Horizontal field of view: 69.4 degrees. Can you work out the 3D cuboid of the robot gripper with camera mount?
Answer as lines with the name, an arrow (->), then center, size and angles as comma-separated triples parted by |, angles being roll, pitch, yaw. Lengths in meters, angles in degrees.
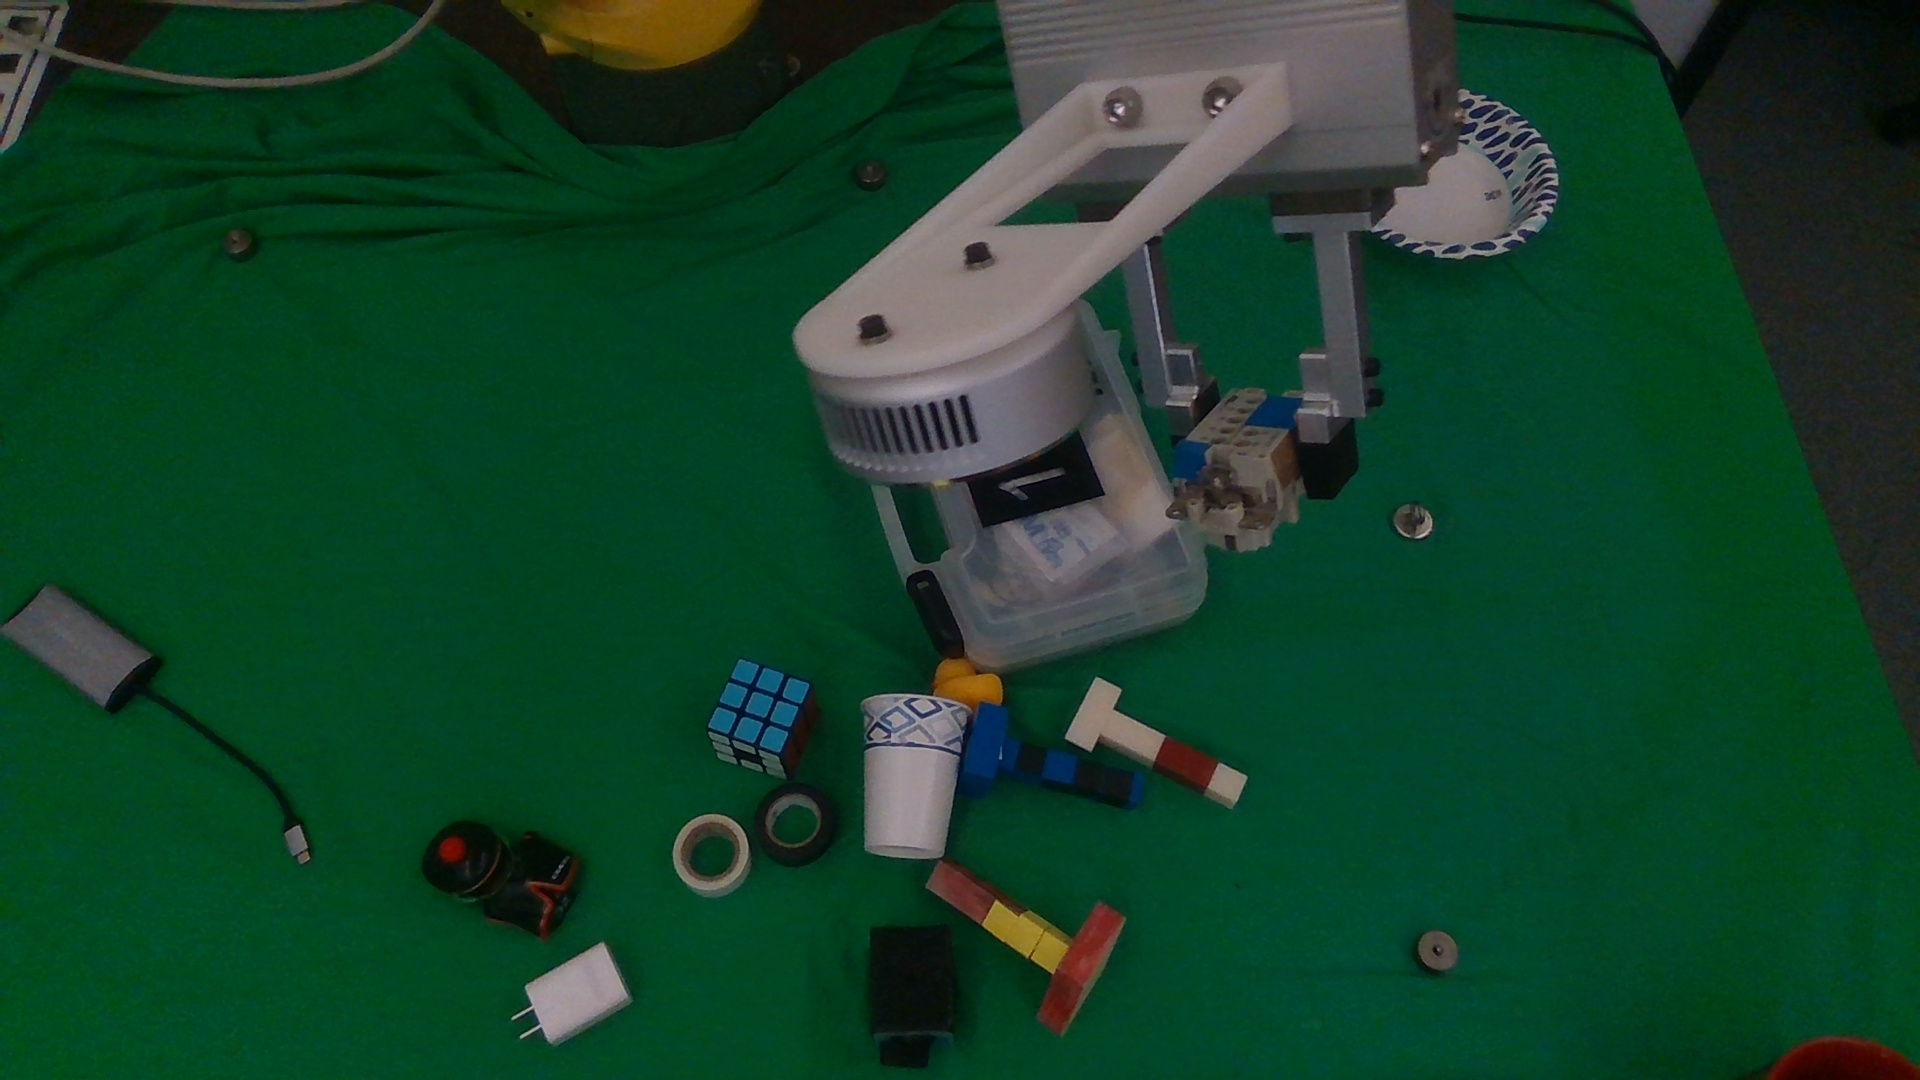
robot gripper with camera mount -> 0.056, -0.045, 0.350 | 0.119, 0.158, 0.193 | -1, 29, 34

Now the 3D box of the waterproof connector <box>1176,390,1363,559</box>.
waterproof connector -> 0.097, -0.021, 0.434 | 0.035, 0.037, 0.065 | 8, 36, 42
